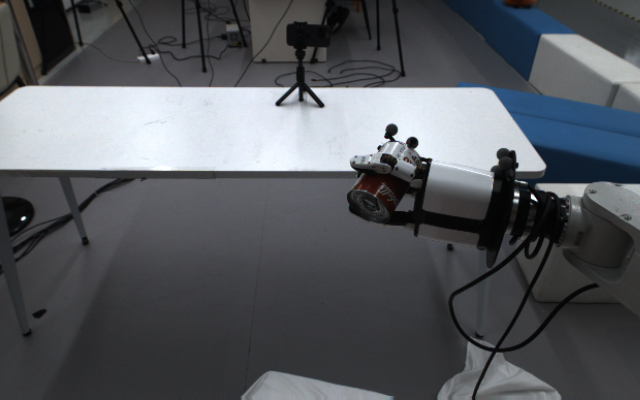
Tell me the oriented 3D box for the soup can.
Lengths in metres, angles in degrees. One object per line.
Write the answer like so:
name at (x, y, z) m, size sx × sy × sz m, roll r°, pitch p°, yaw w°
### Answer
soup can at (0.094, -0.028, 0.681) m, size 0.067 × 0.067 × 0.101 m, roll 22°, pitch 61°, yaw 26°
